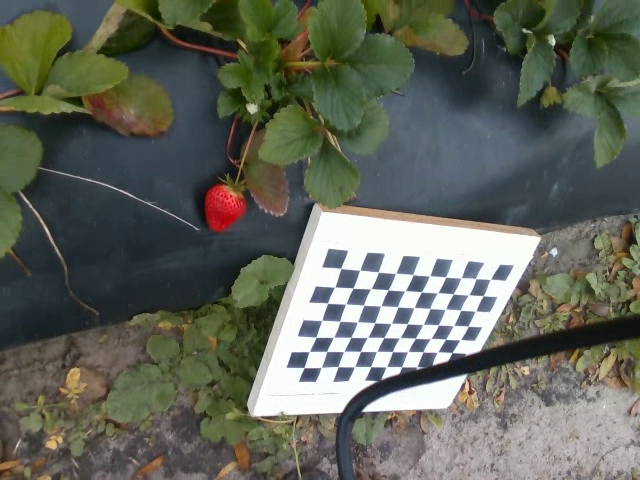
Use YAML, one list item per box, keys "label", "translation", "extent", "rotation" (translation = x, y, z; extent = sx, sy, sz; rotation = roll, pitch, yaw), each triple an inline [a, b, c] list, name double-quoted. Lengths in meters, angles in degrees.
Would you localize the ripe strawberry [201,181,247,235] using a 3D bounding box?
- label: "ripe strawberry"
  translation: [-0.059, -0.018, 0.361]
  extent: [0.028, 0.033, 0.023]
  rotation: [23, 18, -28]
